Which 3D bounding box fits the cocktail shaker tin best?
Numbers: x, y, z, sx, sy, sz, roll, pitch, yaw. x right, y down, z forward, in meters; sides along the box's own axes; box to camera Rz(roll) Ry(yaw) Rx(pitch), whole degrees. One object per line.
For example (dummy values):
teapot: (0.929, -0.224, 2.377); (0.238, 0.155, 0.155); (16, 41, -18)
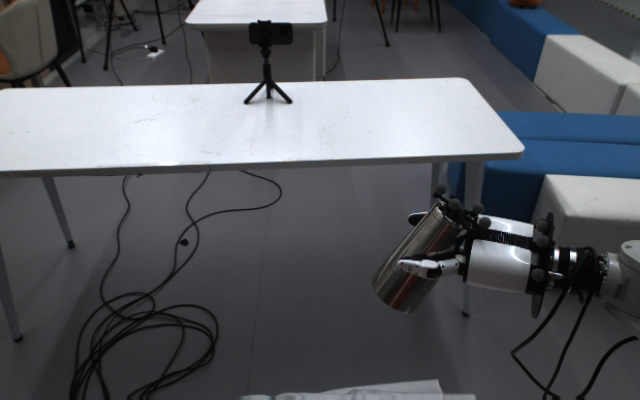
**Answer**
cocktail shaker tin: (0.164, 0.082, 0.768); (0.093, 0.170, 0.093); (25, 29, -15)
